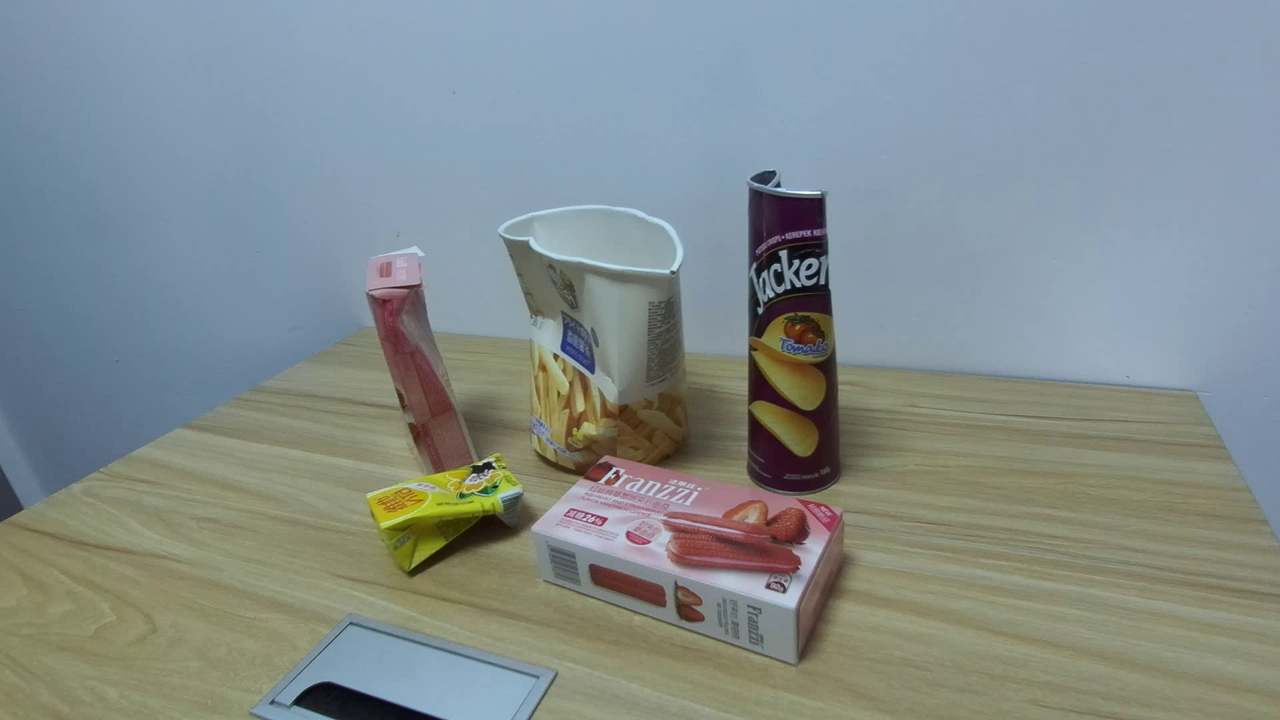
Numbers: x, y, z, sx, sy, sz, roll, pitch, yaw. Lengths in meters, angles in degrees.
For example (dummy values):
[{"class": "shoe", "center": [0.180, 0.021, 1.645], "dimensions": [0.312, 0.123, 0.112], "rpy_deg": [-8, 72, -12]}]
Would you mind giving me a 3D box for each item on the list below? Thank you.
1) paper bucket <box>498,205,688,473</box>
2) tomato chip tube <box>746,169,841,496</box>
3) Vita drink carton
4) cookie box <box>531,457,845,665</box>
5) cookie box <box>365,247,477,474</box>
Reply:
[{"class": "paper bucket", "center": [-0.034, -0.019, 0.614], "dimensions": [0.217, 0.199, 0.148], "rpy_deg": [8, 28, 28]}, {"class": "tomato chip tube", "center": [0.116, -0.017, 0.530], "dimensions": [0.076, 0.235, 0.078], "rpy_deg": [10, 27, 32]}, {"class": "Vita drink carton", "center": [-0.146, 0.115, 0.544], "dimensions": [0.108, 0.042, 0.086], "rpy_deg": [-15, 19, -28]}, {"class": "cookie box", "center": [0.031, 0.124, 0.470], "dimensions": [0.183, 0.048, 0.096], "rpy_deg": [8, 29, 29]}, {"class": "cookie box", "center": [-0.190, 0.007, 0.616], "dimensions": [0.055, 0.184, 0.118], "rpy_deg": [-15, 27, -18]}]
